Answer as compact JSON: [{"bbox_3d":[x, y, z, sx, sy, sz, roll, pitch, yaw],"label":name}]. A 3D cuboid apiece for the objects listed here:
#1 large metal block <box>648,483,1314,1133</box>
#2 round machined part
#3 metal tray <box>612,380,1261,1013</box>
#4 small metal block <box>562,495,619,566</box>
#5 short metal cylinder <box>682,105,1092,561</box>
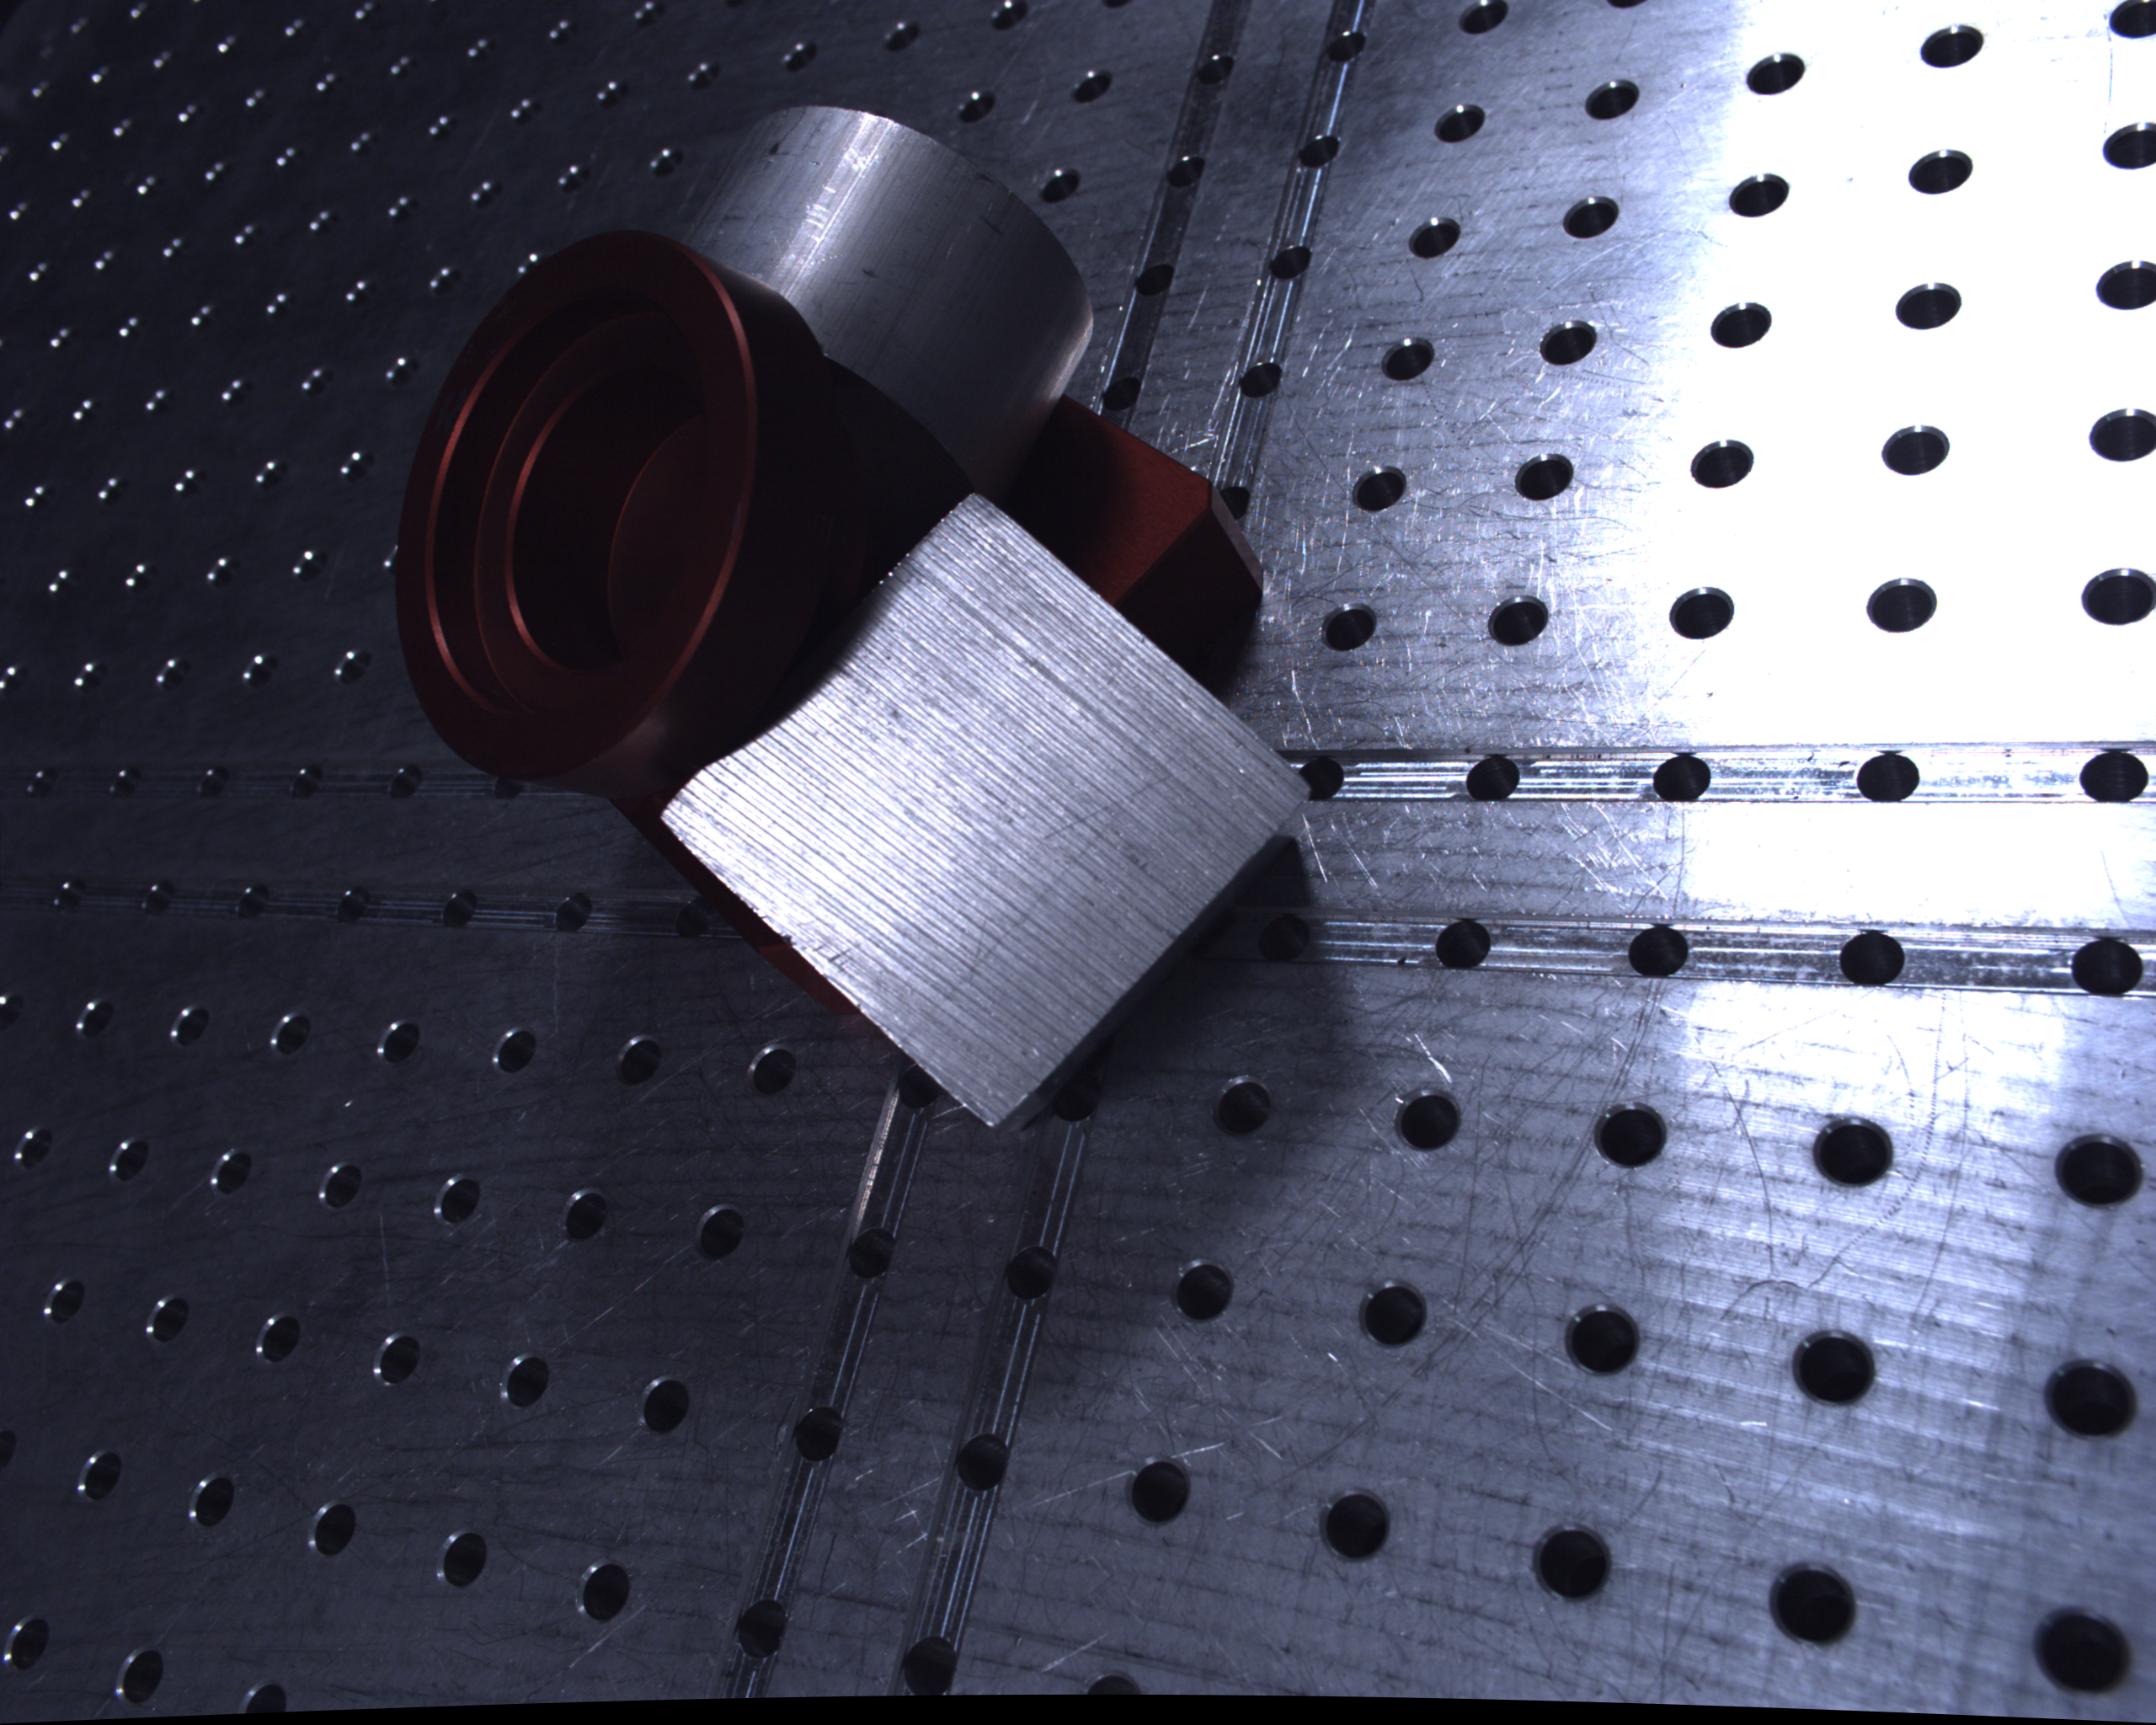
[{"bbox_3d":[-0.016,-0.007,0.380,0.080,0.050,0.080,42,85,8],"label":"large metal block"},{"bbox_3d":[-0.077,-0.060,0.377,0.098,0.042,0.097,-8,77,38],"label":"round machined part"},{"bbox_3d":[-0.036,-0.042,0.449,0.130,0.030,0.090,-47,52,-5],"label":"metal tray"},{"bbox_3d":[-0.098,-0.050,0.432,0.025,0.050,0.050,21,73,35],"label":"small metal block"},{"bbox_3d":[-0.044,-0.104,0.419,0.080,0.080,0.050,14,69,33],"label":"short metal cylinder"}]
